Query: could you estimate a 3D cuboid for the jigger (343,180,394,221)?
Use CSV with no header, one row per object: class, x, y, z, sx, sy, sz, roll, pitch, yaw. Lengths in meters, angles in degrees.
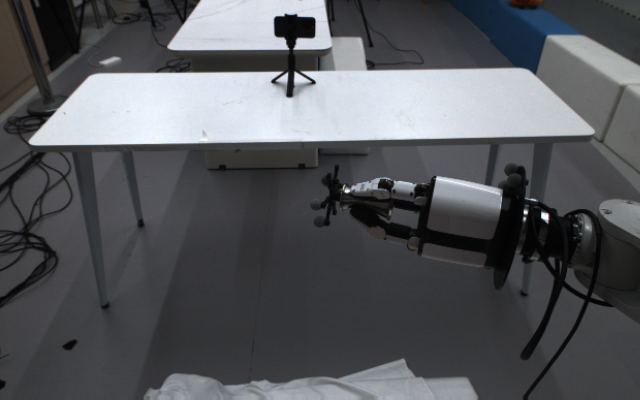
jigger,0.071,-0.004,0.662,0.071,0.043,0.043,9,35,16
